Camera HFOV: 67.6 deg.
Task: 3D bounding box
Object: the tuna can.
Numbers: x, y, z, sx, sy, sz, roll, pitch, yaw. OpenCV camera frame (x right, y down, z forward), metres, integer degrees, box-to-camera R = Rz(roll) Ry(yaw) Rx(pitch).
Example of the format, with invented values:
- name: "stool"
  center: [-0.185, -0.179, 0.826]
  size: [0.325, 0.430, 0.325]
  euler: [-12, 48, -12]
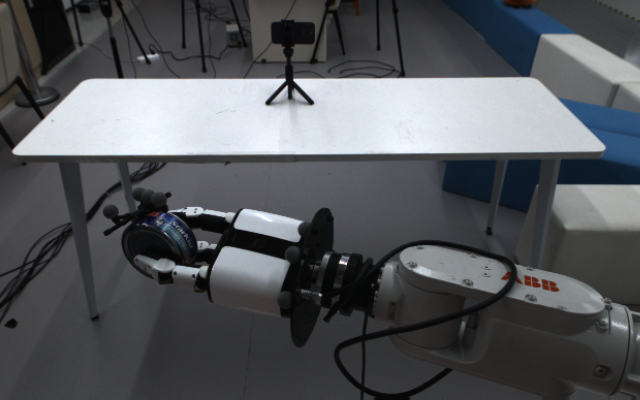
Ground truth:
- name: "tuna can"
  center: [-0.191, 0.062, 0.583]
  size: [0.085, 0.085, 0.034]
  euler: [11, 34, 13]
